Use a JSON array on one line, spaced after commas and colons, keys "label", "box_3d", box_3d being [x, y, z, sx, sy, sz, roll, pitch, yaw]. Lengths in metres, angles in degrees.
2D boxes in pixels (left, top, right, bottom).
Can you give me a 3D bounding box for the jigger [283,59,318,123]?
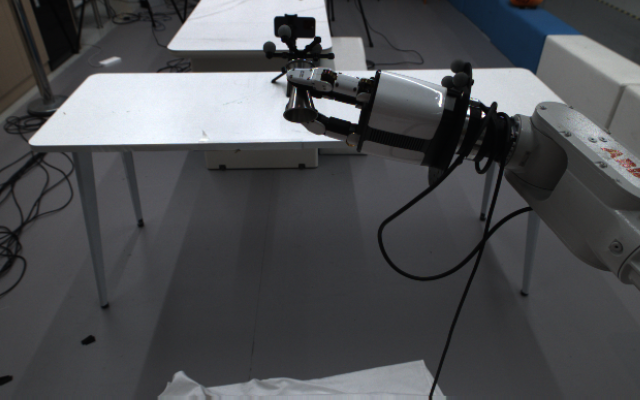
[{"label": "jigger", "box_3d": [-0.024, -0.139, 0.611, 0.043, 0.043, 0.071, 0, 75, -3]}]
